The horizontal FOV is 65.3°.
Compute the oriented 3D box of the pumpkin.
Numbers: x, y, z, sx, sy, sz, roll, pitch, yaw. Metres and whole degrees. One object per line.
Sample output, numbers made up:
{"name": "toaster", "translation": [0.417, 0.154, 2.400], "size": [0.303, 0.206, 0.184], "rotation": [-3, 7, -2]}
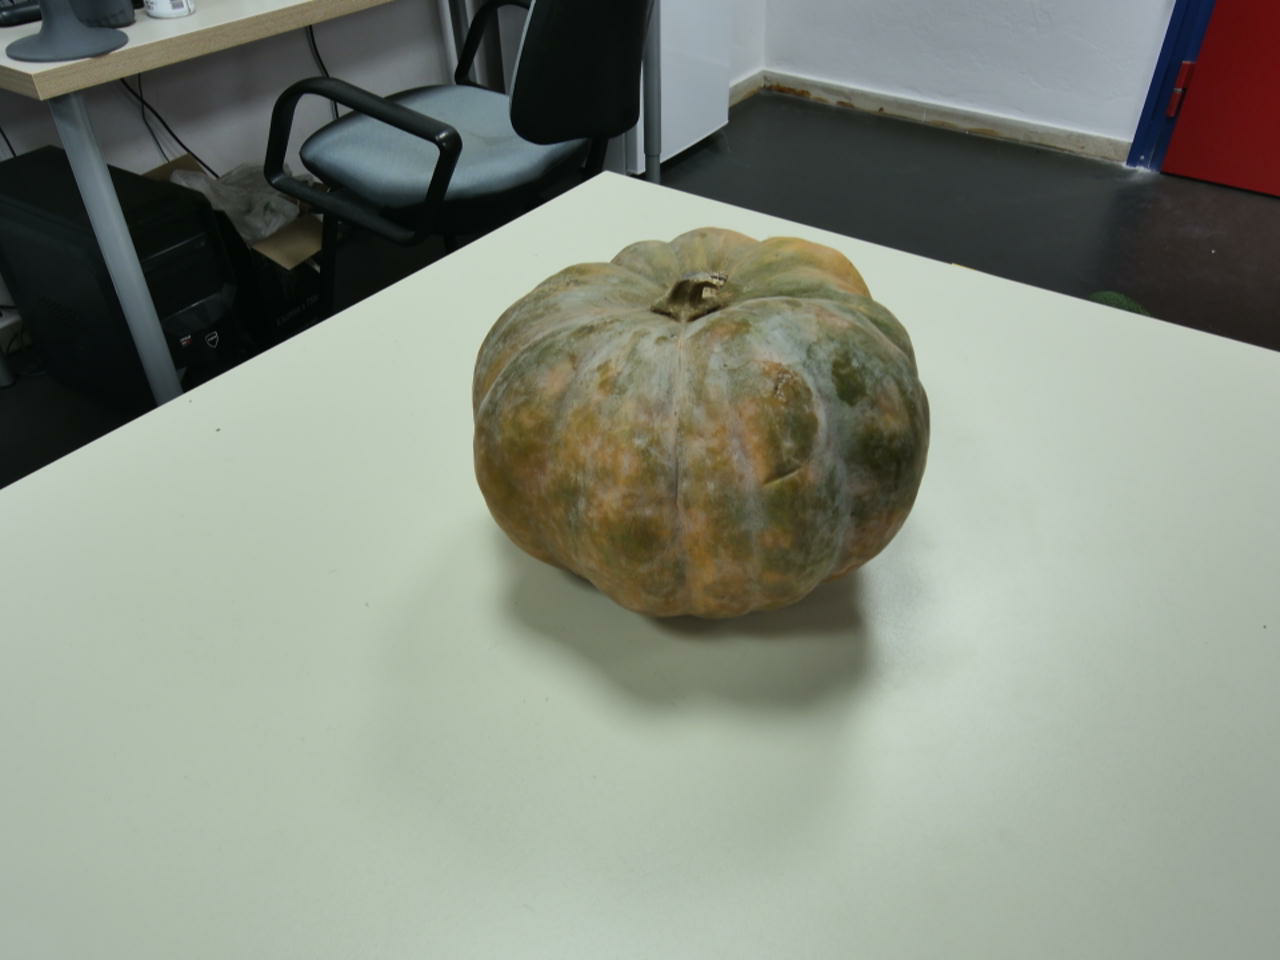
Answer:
{"name": "pumpkin", "translation": [0.029, -0.037, 0.538], "size": [0.252, 0.169, 0.251], "rotation": [0, 38, 0]}
